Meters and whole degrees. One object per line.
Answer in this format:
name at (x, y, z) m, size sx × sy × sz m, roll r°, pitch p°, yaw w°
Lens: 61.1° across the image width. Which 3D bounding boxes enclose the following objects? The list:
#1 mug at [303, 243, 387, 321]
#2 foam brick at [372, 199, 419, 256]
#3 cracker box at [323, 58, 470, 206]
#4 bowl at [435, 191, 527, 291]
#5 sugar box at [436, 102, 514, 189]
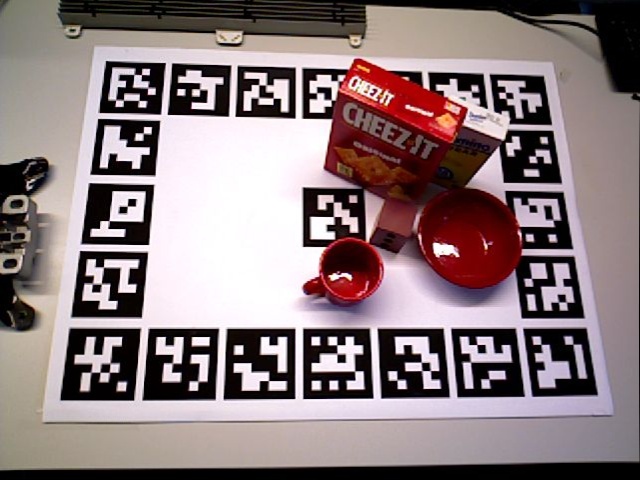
mug at (0.033, 0.066, 0.768) m, size 0.116 × 0.083 × 0.092 m, roll -9°, pitch 64°, yaw -5°
foam brick at (0.112, -0.018, 0.811) m, size 0.052 × 0.079 × 0.051 m, roll 15°, pitch 69°, yaw 2°
cracker box at (0.100, -0.138, 0.773) m, size 0.164 × 0.217 × 0.071 m, roll 28°, pitch 68°, yaw 5°
bowl at (0.234, 0.011, 0.805) m, size 0.160 × 0.056 × 0.160 m, roll 1°, pitch 72°, yaw -3°
sugar box at (0.208, -0.144, 0.800) m, size 0.092 × 0.179 × 0.045 m, roll 20°, pitch 70°, yaw 3°
